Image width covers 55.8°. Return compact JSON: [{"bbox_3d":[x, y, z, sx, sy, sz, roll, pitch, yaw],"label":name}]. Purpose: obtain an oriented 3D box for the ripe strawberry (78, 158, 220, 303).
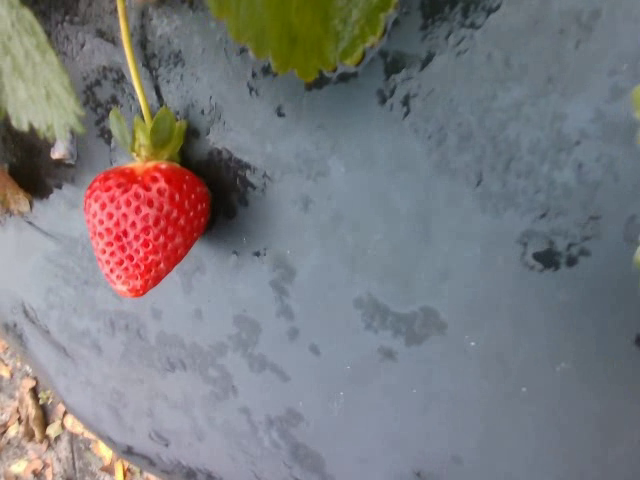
[{"bbox_3d":[-0.062,-0.004,0.214,0.048,0.054,0.045,13,-11,-35],"label":"ripe strawberry"}]
